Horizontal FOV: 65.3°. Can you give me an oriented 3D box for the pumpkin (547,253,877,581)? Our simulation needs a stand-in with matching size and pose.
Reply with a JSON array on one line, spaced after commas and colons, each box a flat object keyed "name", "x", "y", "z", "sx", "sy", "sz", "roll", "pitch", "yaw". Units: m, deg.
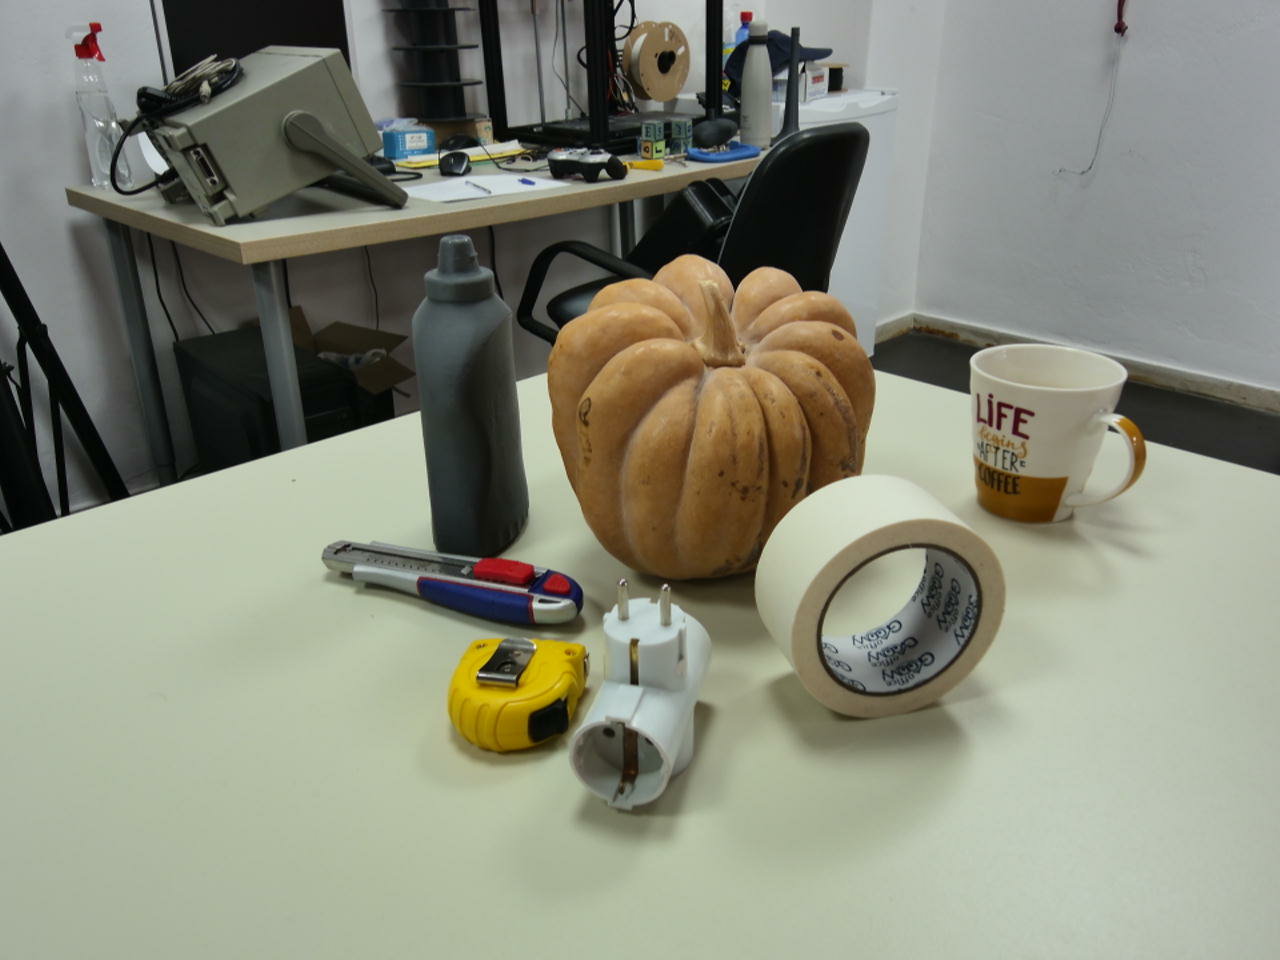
[{"name": "pumpkin", "x": 0.042, "y": -0.036, "z": 0.597, "sx": 0.199, "sy": 0.177, "sz": 0.198, "roll": -1, "pitch": 24, "yaw": 0}]
